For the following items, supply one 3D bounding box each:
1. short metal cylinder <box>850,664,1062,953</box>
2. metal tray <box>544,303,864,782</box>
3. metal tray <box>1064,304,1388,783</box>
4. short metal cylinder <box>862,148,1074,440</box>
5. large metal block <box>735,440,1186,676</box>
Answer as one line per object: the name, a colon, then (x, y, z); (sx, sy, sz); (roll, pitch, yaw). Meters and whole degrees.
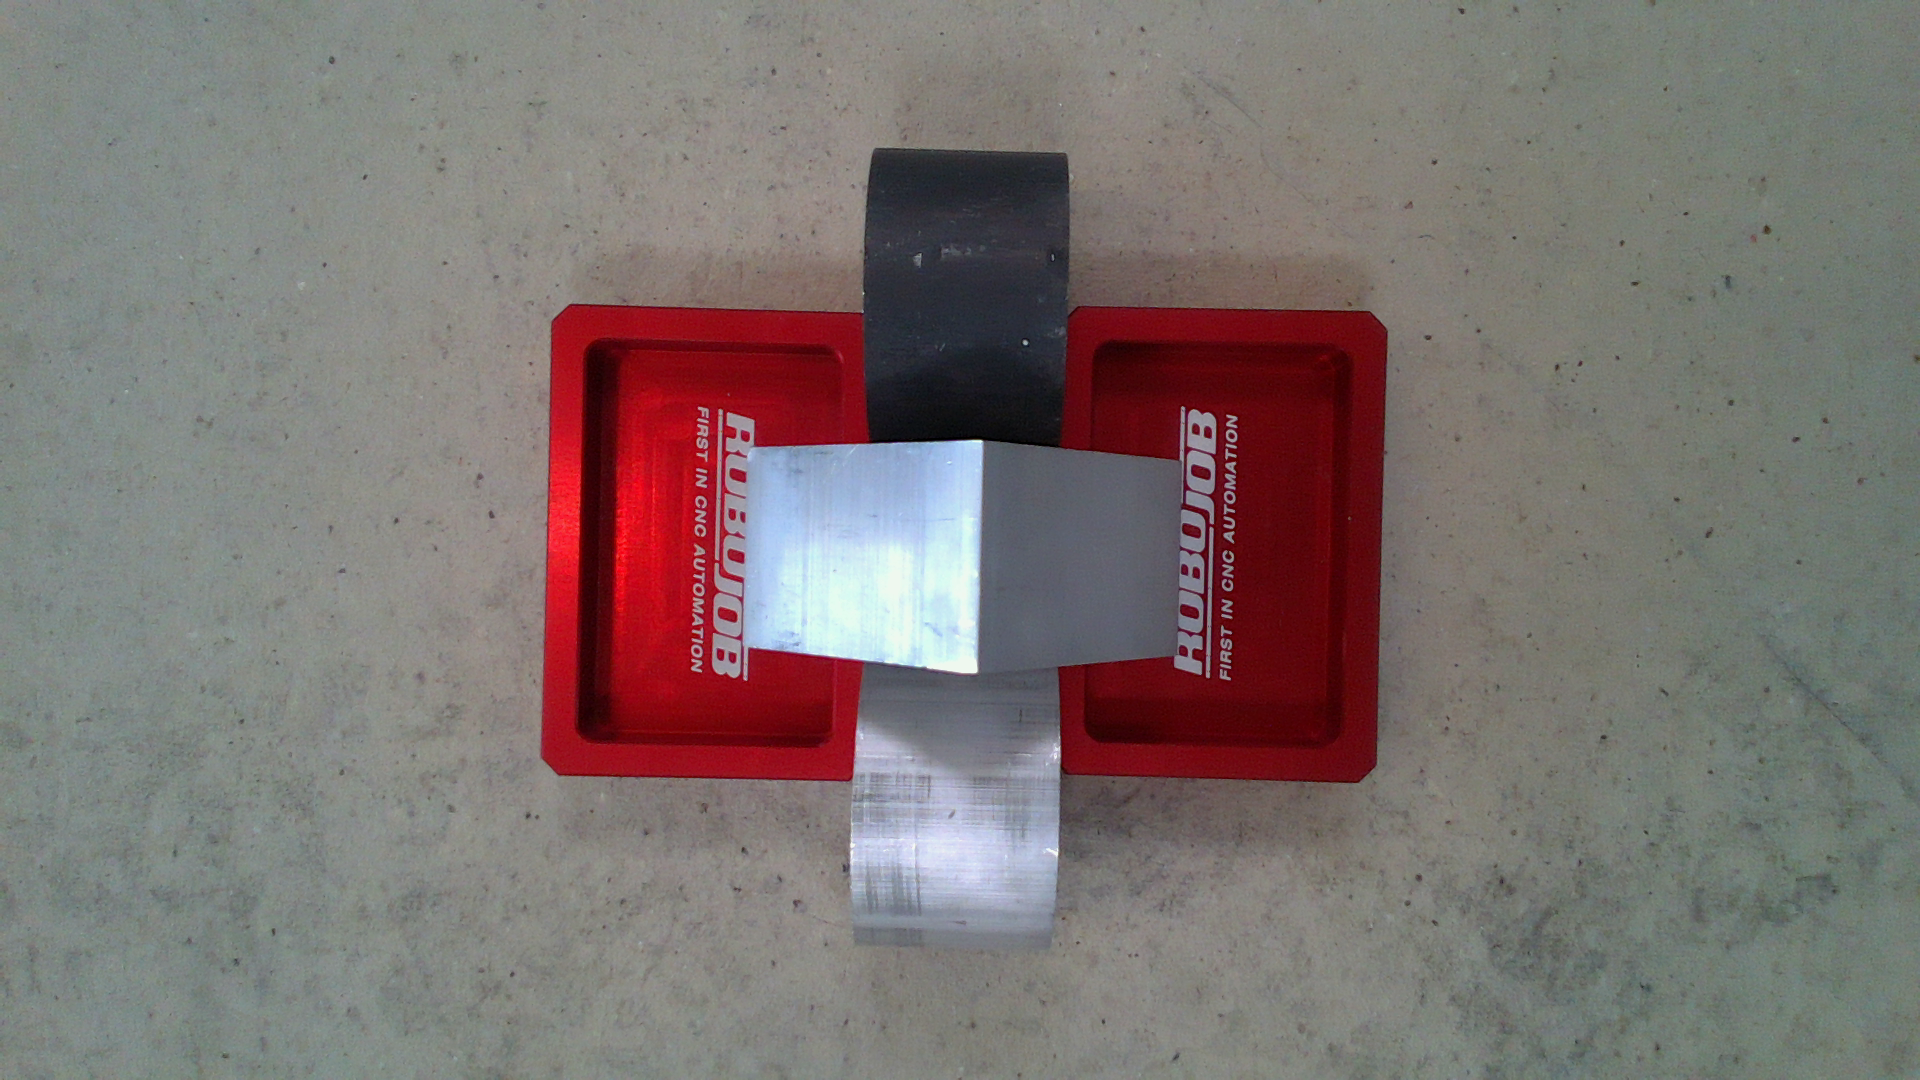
short metal cylinder: (-0.001, 0.068, 0.368); (0.050, 0.080, 0.080); (2, 90, 0)
metal tray: (-0.068, 0.001, 0.393); (0.090, 0.030, 0.130); (1, 90, 0)
metal tray: (0.072, 0.001, 0.394); (0.090, 0.030, 0.130); (1, 90, 0)
short metal cylinder: (0.002, -0.063, 0.368); (0.050, 0.080, 0.080); (2, 90, 0)
large metal block: (0.001, 0.003, 0.347); (0.080, 0.080, 0.050); (2, 91, 40)
